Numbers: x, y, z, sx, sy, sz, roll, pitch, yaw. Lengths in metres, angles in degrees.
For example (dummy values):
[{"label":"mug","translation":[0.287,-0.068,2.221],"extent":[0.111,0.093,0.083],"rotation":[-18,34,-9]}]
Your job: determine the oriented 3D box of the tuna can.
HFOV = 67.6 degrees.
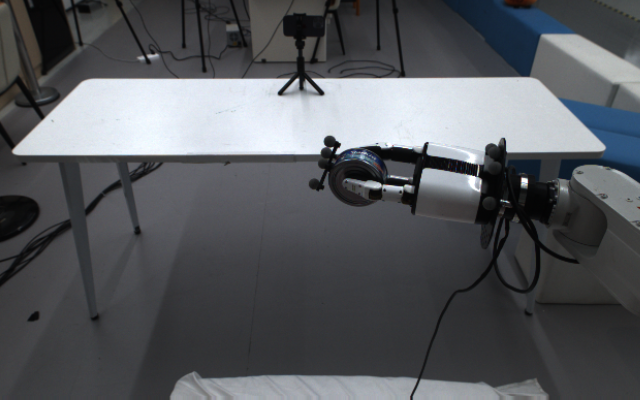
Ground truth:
[{"label":"tuna can","translation":[0.057,-0.034,0.724],"extent":[0.085,0.085,0.034],"rotation":[9,35,10]}]
